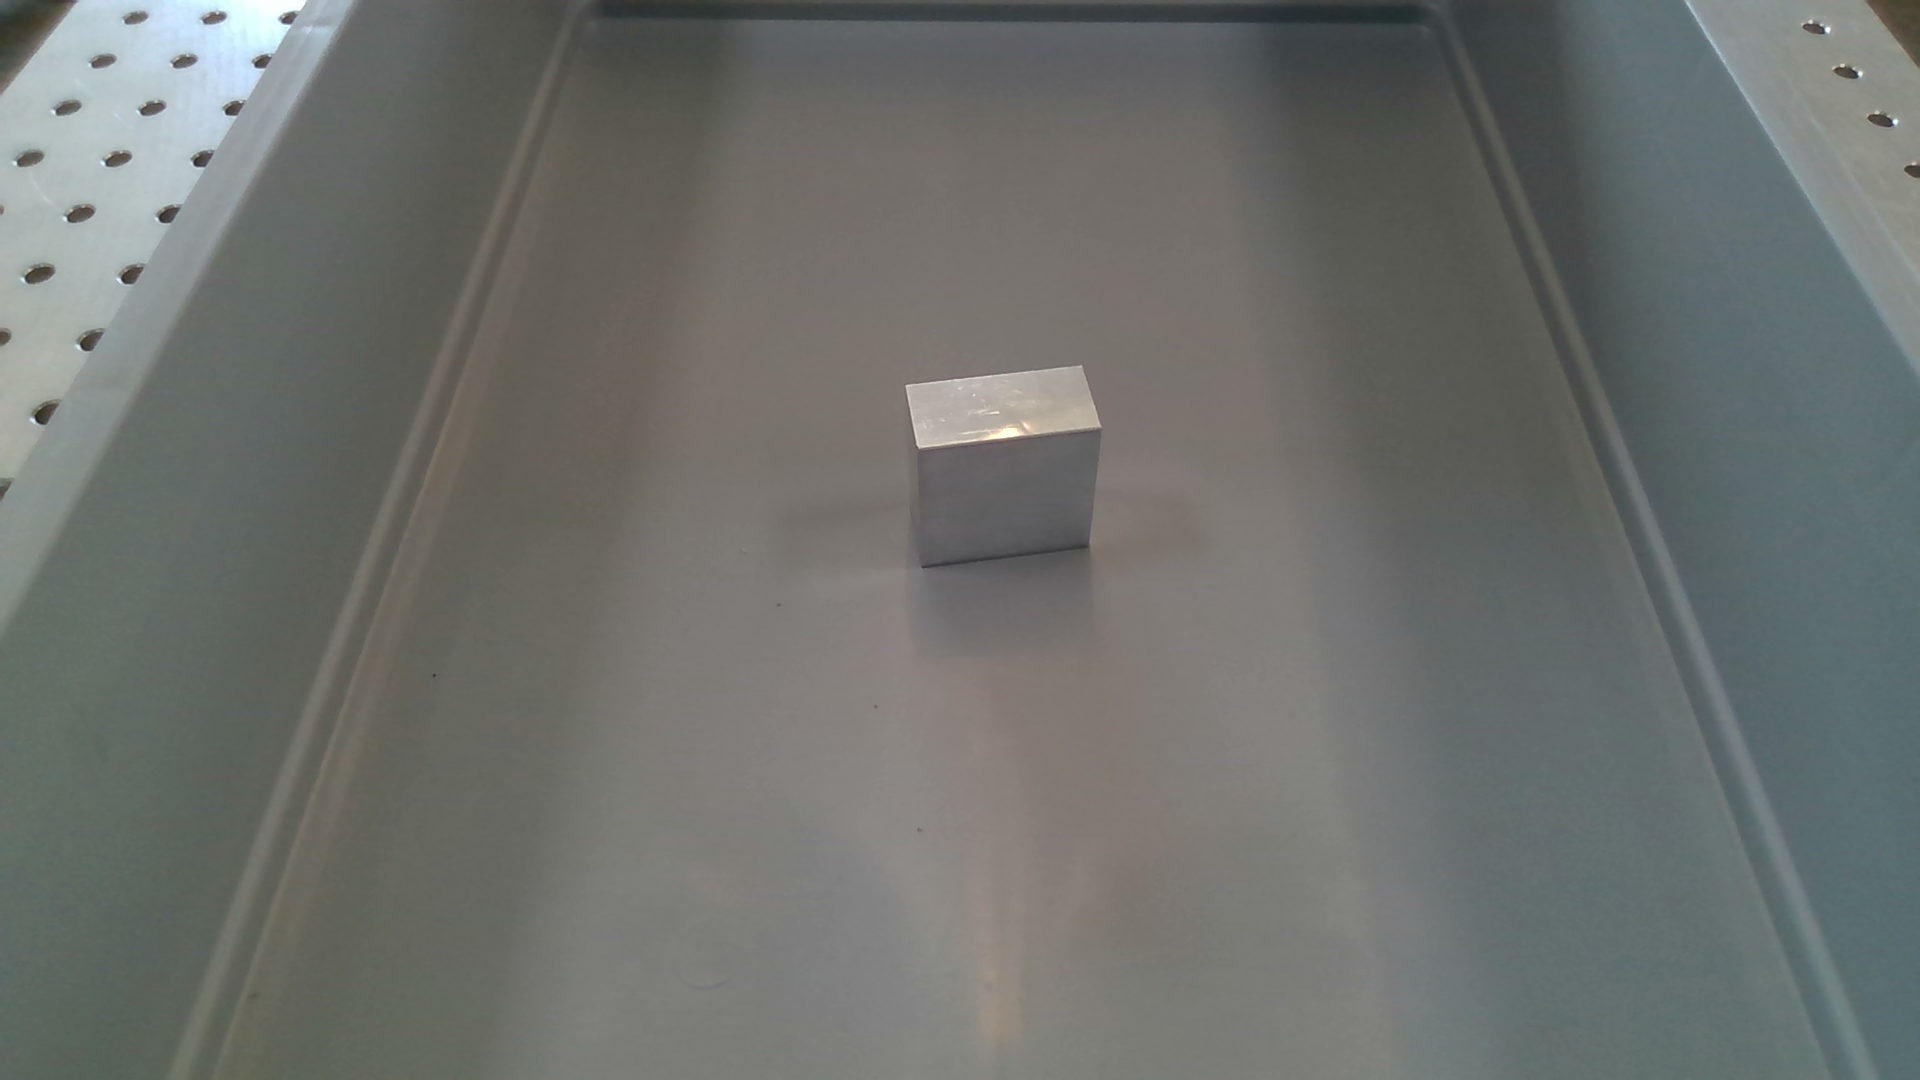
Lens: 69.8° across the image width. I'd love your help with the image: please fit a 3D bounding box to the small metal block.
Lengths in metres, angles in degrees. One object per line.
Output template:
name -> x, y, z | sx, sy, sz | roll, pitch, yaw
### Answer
small metal block -> 0.011, -0.020, 0.390 | 0.050, 0.050, 0.025 | -7, 50, -6
